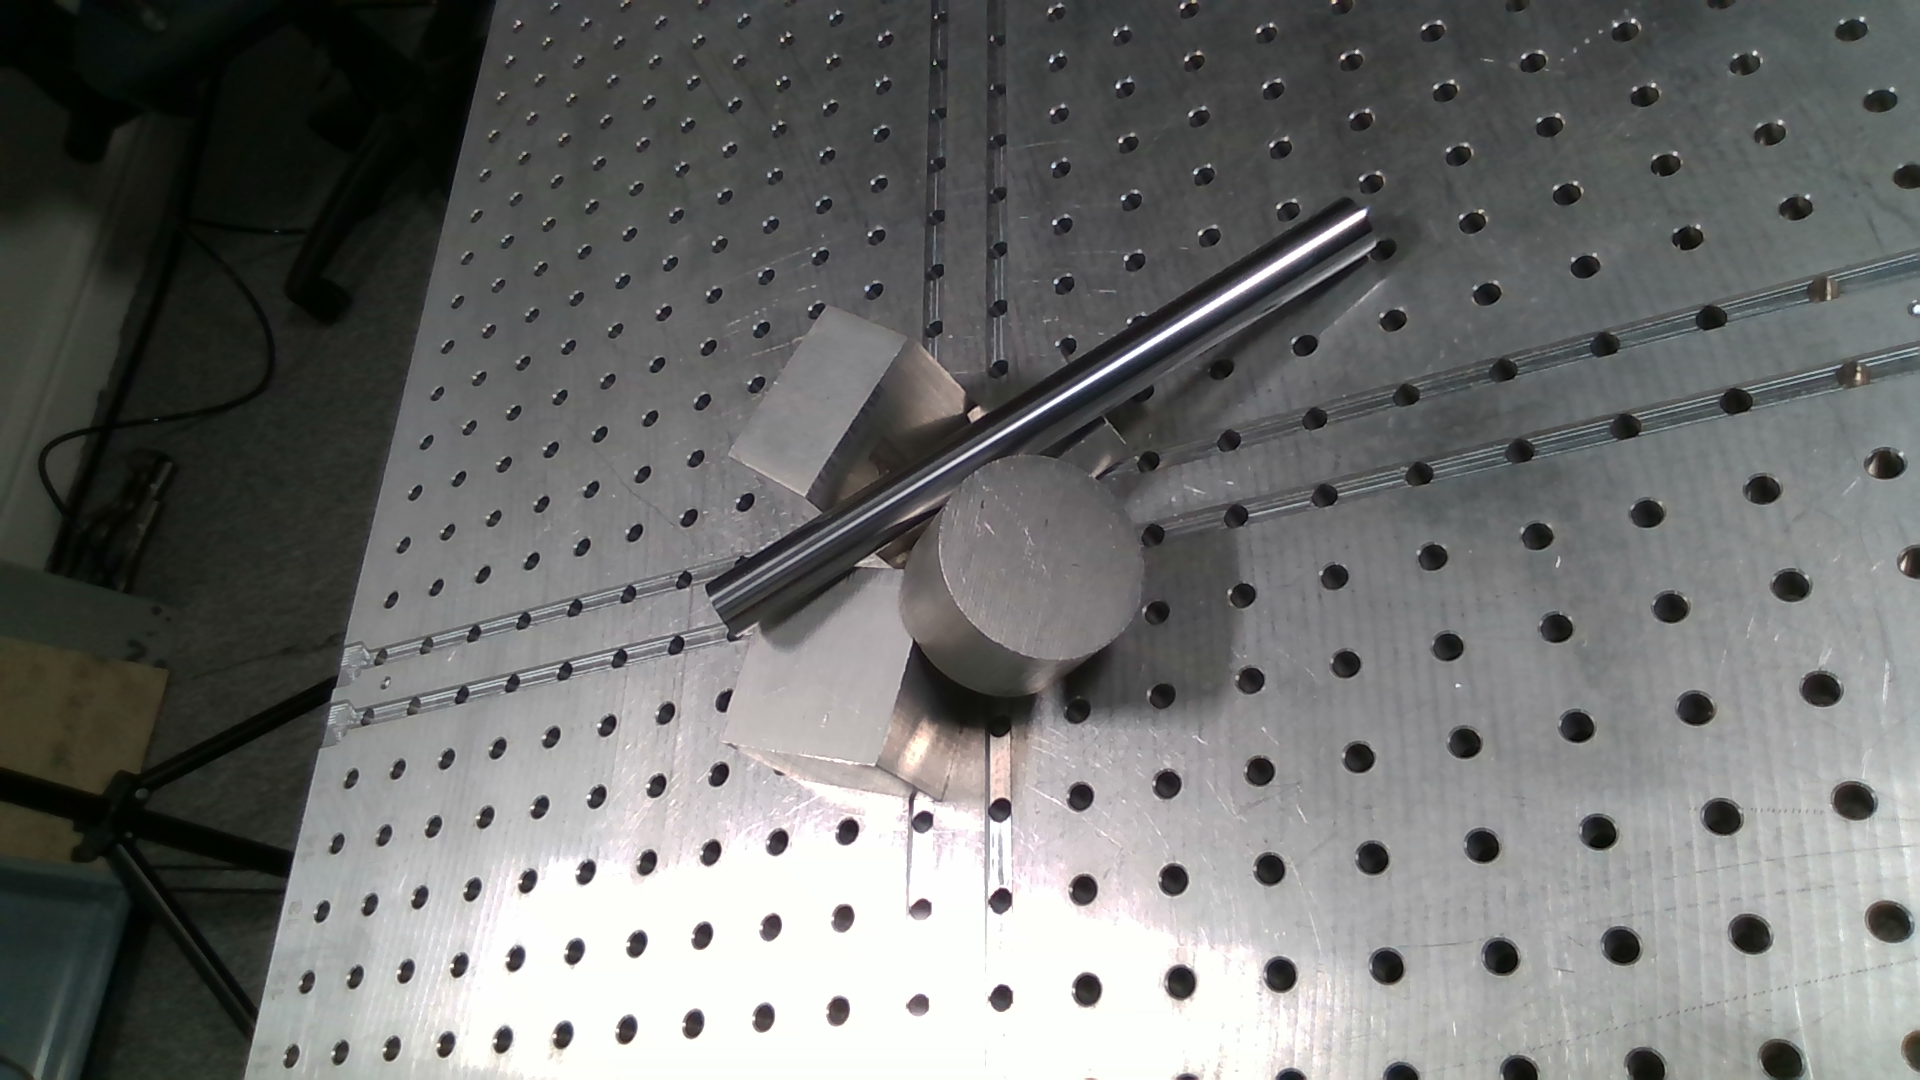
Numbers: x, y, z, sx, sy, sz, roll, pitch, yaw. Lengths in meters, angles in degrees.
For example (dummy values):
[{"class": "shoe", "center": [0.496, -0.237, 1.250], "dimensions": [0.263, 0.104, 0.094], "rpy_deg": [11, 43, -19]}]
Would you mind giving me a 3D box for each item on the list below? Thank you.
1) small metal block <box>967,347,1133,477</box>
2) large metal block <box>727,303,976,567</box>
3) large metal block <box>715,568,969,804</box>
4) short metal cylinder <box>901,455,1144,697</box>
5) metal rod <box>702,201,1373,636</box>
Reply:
[{"class": "small metal block", "center": [0.038, -0.046, 0.590], "dimensions": [0.050, 0.025, 0.050], "rpy_deg": [-35, 52, 11]}, {"class": "large metal block", "center": [-0.040, -0.042, 0.600], "dimensions": [0.050, 0.080, 0.080], "rpy_deg": [27, 81, 38]}, {"class": "large metal block", "center": [-0.043, 0.058, 0.568], "dimensions": [0.080, 0.050, 0.080], "rpy_deg": [3, 67, 33]}, {"class": "short metal cylinder", "center": [0.023, 0.014, 0.523], "dimensions": [0.050, 0.080, 0.080], "rpy_deg": [131, 150, -63]}, {"class": "metal rod", "center": [0.031, -0.049, 0.556], "dimensions": [0.300, 0.025, 0.025], "rpy_deg": [-31, 52, 0]}]
